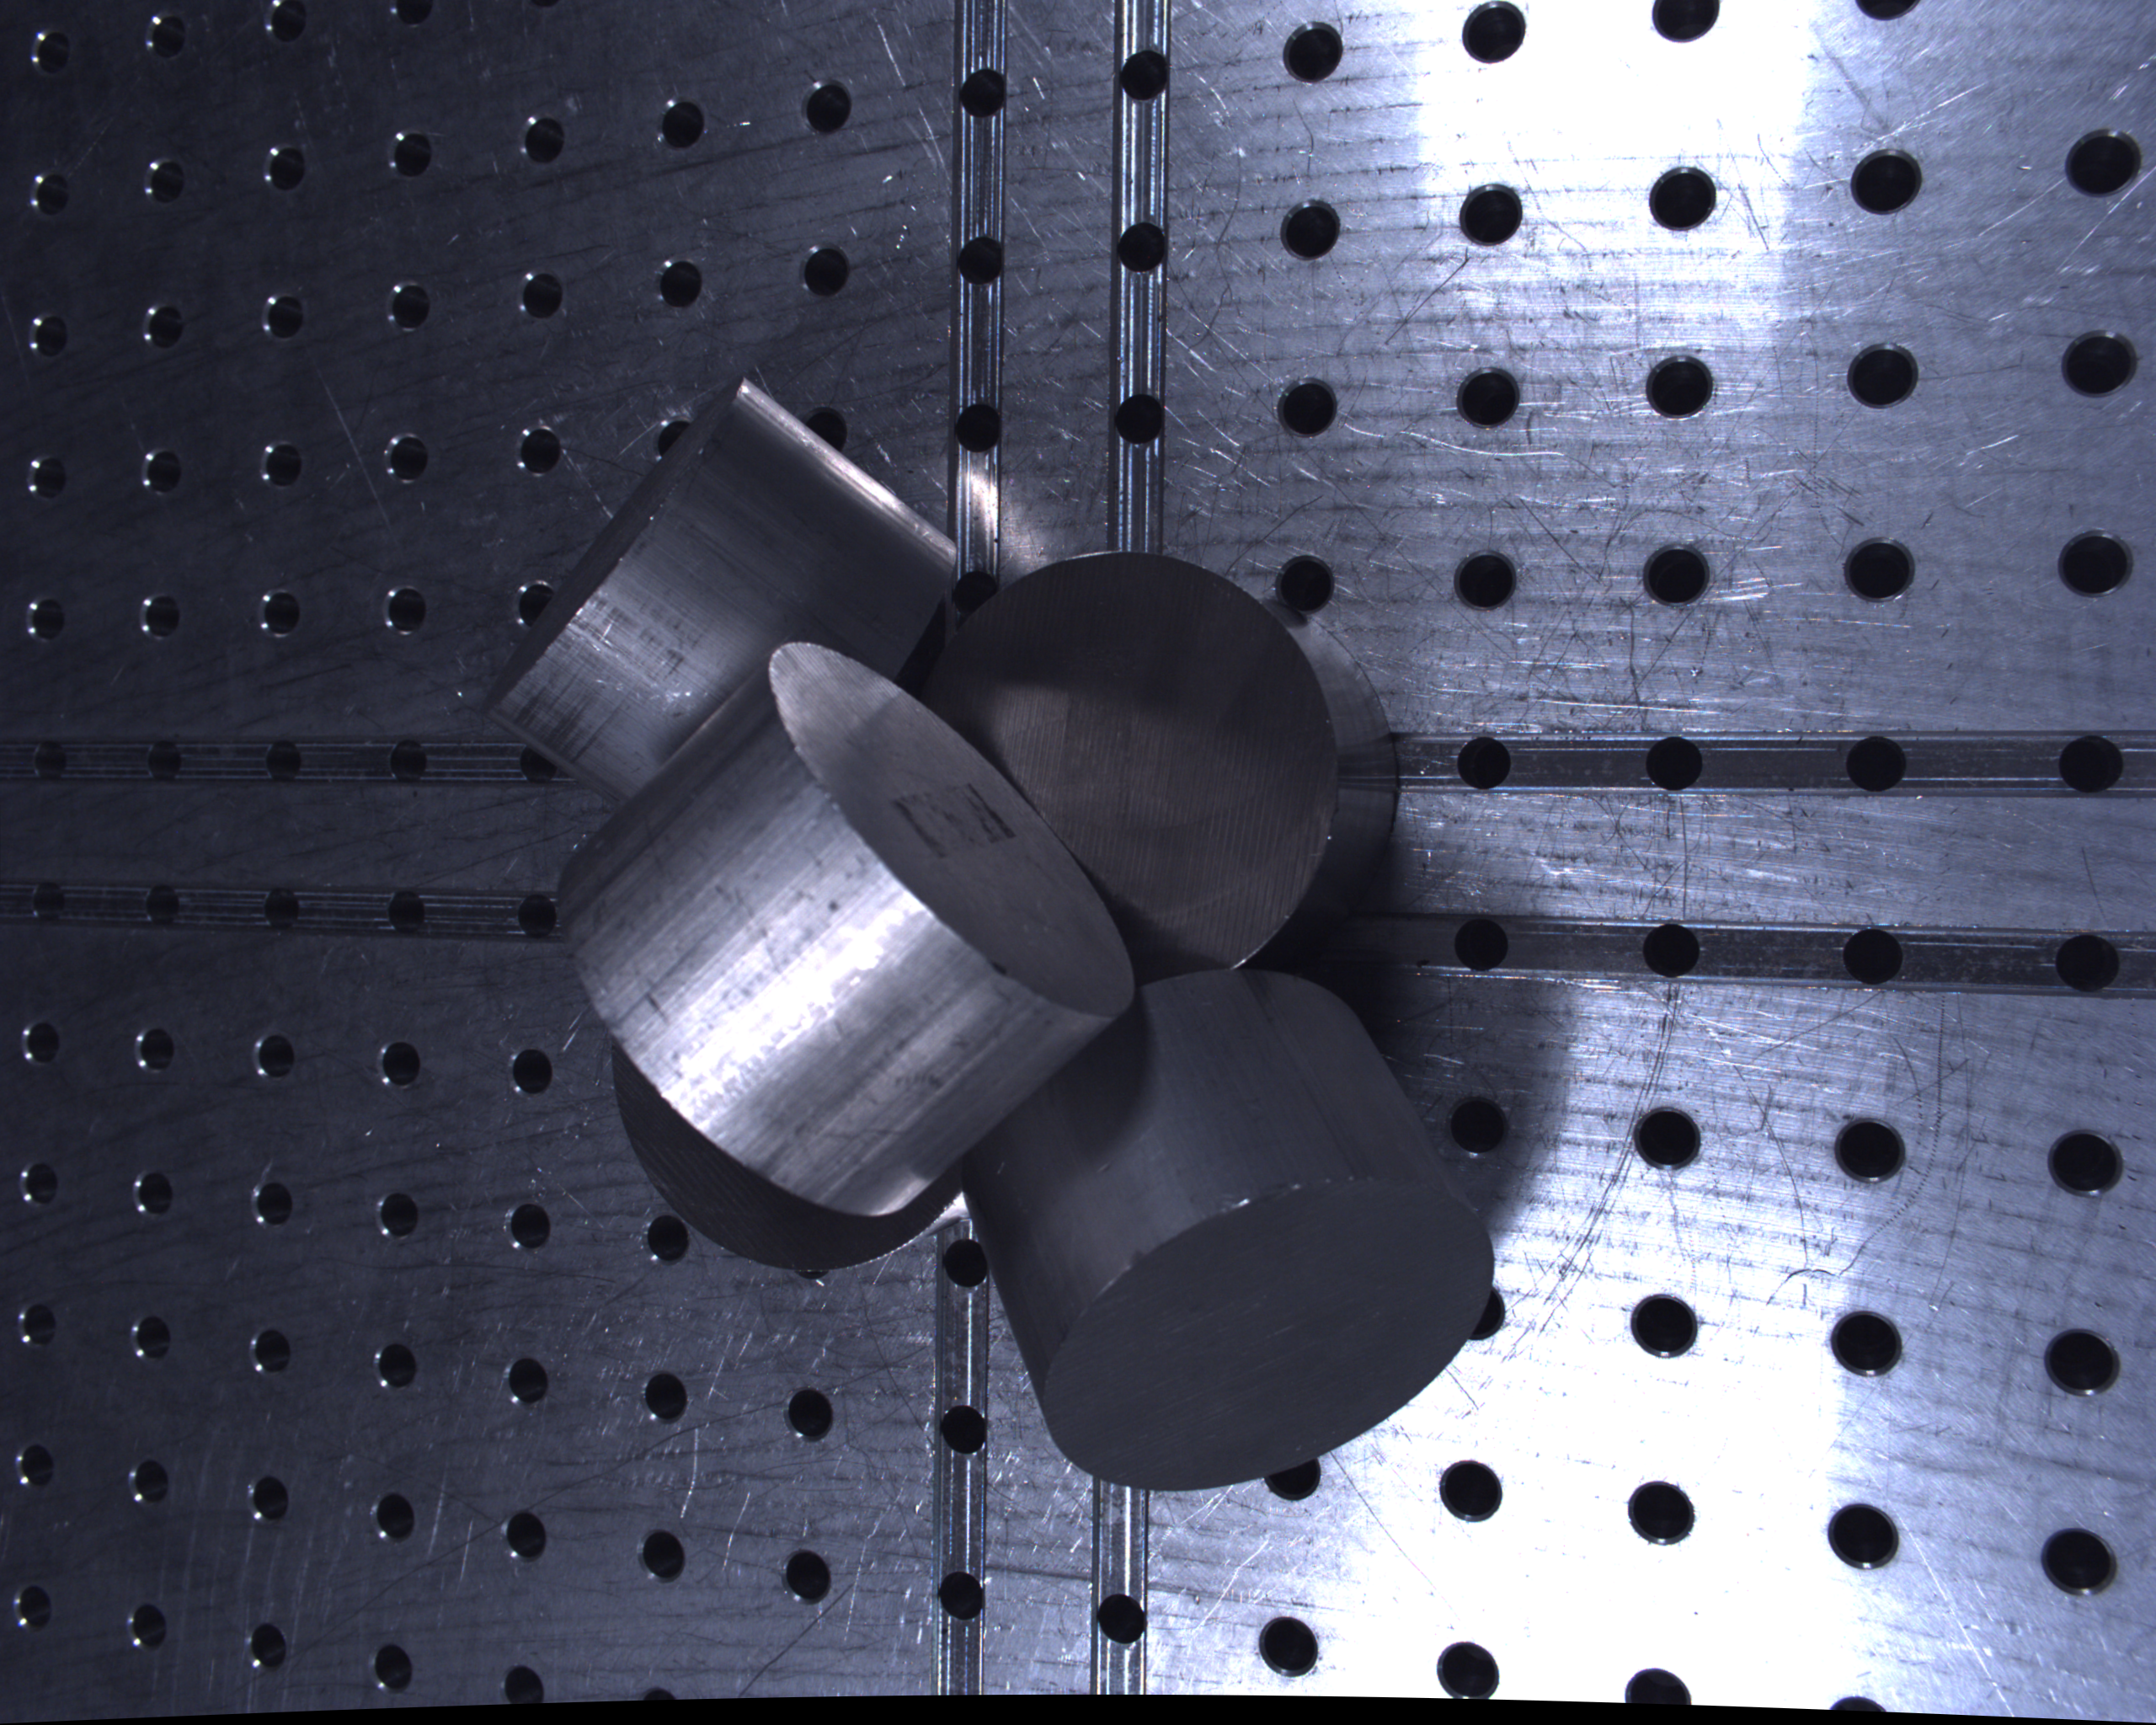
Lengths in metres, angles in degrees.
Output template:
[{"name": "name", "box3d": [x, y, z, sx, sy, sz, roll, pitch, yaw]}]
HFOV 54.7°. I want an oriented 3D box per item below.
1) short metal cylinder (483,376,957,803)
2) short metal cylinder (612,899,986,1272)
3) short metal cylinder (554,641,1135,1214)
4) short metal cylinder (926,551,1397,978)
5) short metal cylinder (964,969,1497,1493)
[{"name": "short metal cylinder", "box3d": [-0.068, -0.045, 0.399, 0.050, 0.080, 0.080, 37, 104, -19]}, {"name": "short metal cylinder", "box3d": [-0.044, 0.036, 0.413, 0.080, 0.050, 0.079, 0, 90, 19]}, {"name": "short metal cylinder", "box3d": [-0.037, 0.010, 0.341, 0.050, 0.080, 0.080, -43, 77, 15]}, {"name": "short metal cylinder", "box3d": [0.015, -0.016, 0.392, 0.080, 0.050, 0.079, 0, 90, 19]}, {"name": "short metal cylinder", "box3d": [0.025, 0.065, 0.366, 0.080, 0.080, 0.050, -42, 42, 15]}]
